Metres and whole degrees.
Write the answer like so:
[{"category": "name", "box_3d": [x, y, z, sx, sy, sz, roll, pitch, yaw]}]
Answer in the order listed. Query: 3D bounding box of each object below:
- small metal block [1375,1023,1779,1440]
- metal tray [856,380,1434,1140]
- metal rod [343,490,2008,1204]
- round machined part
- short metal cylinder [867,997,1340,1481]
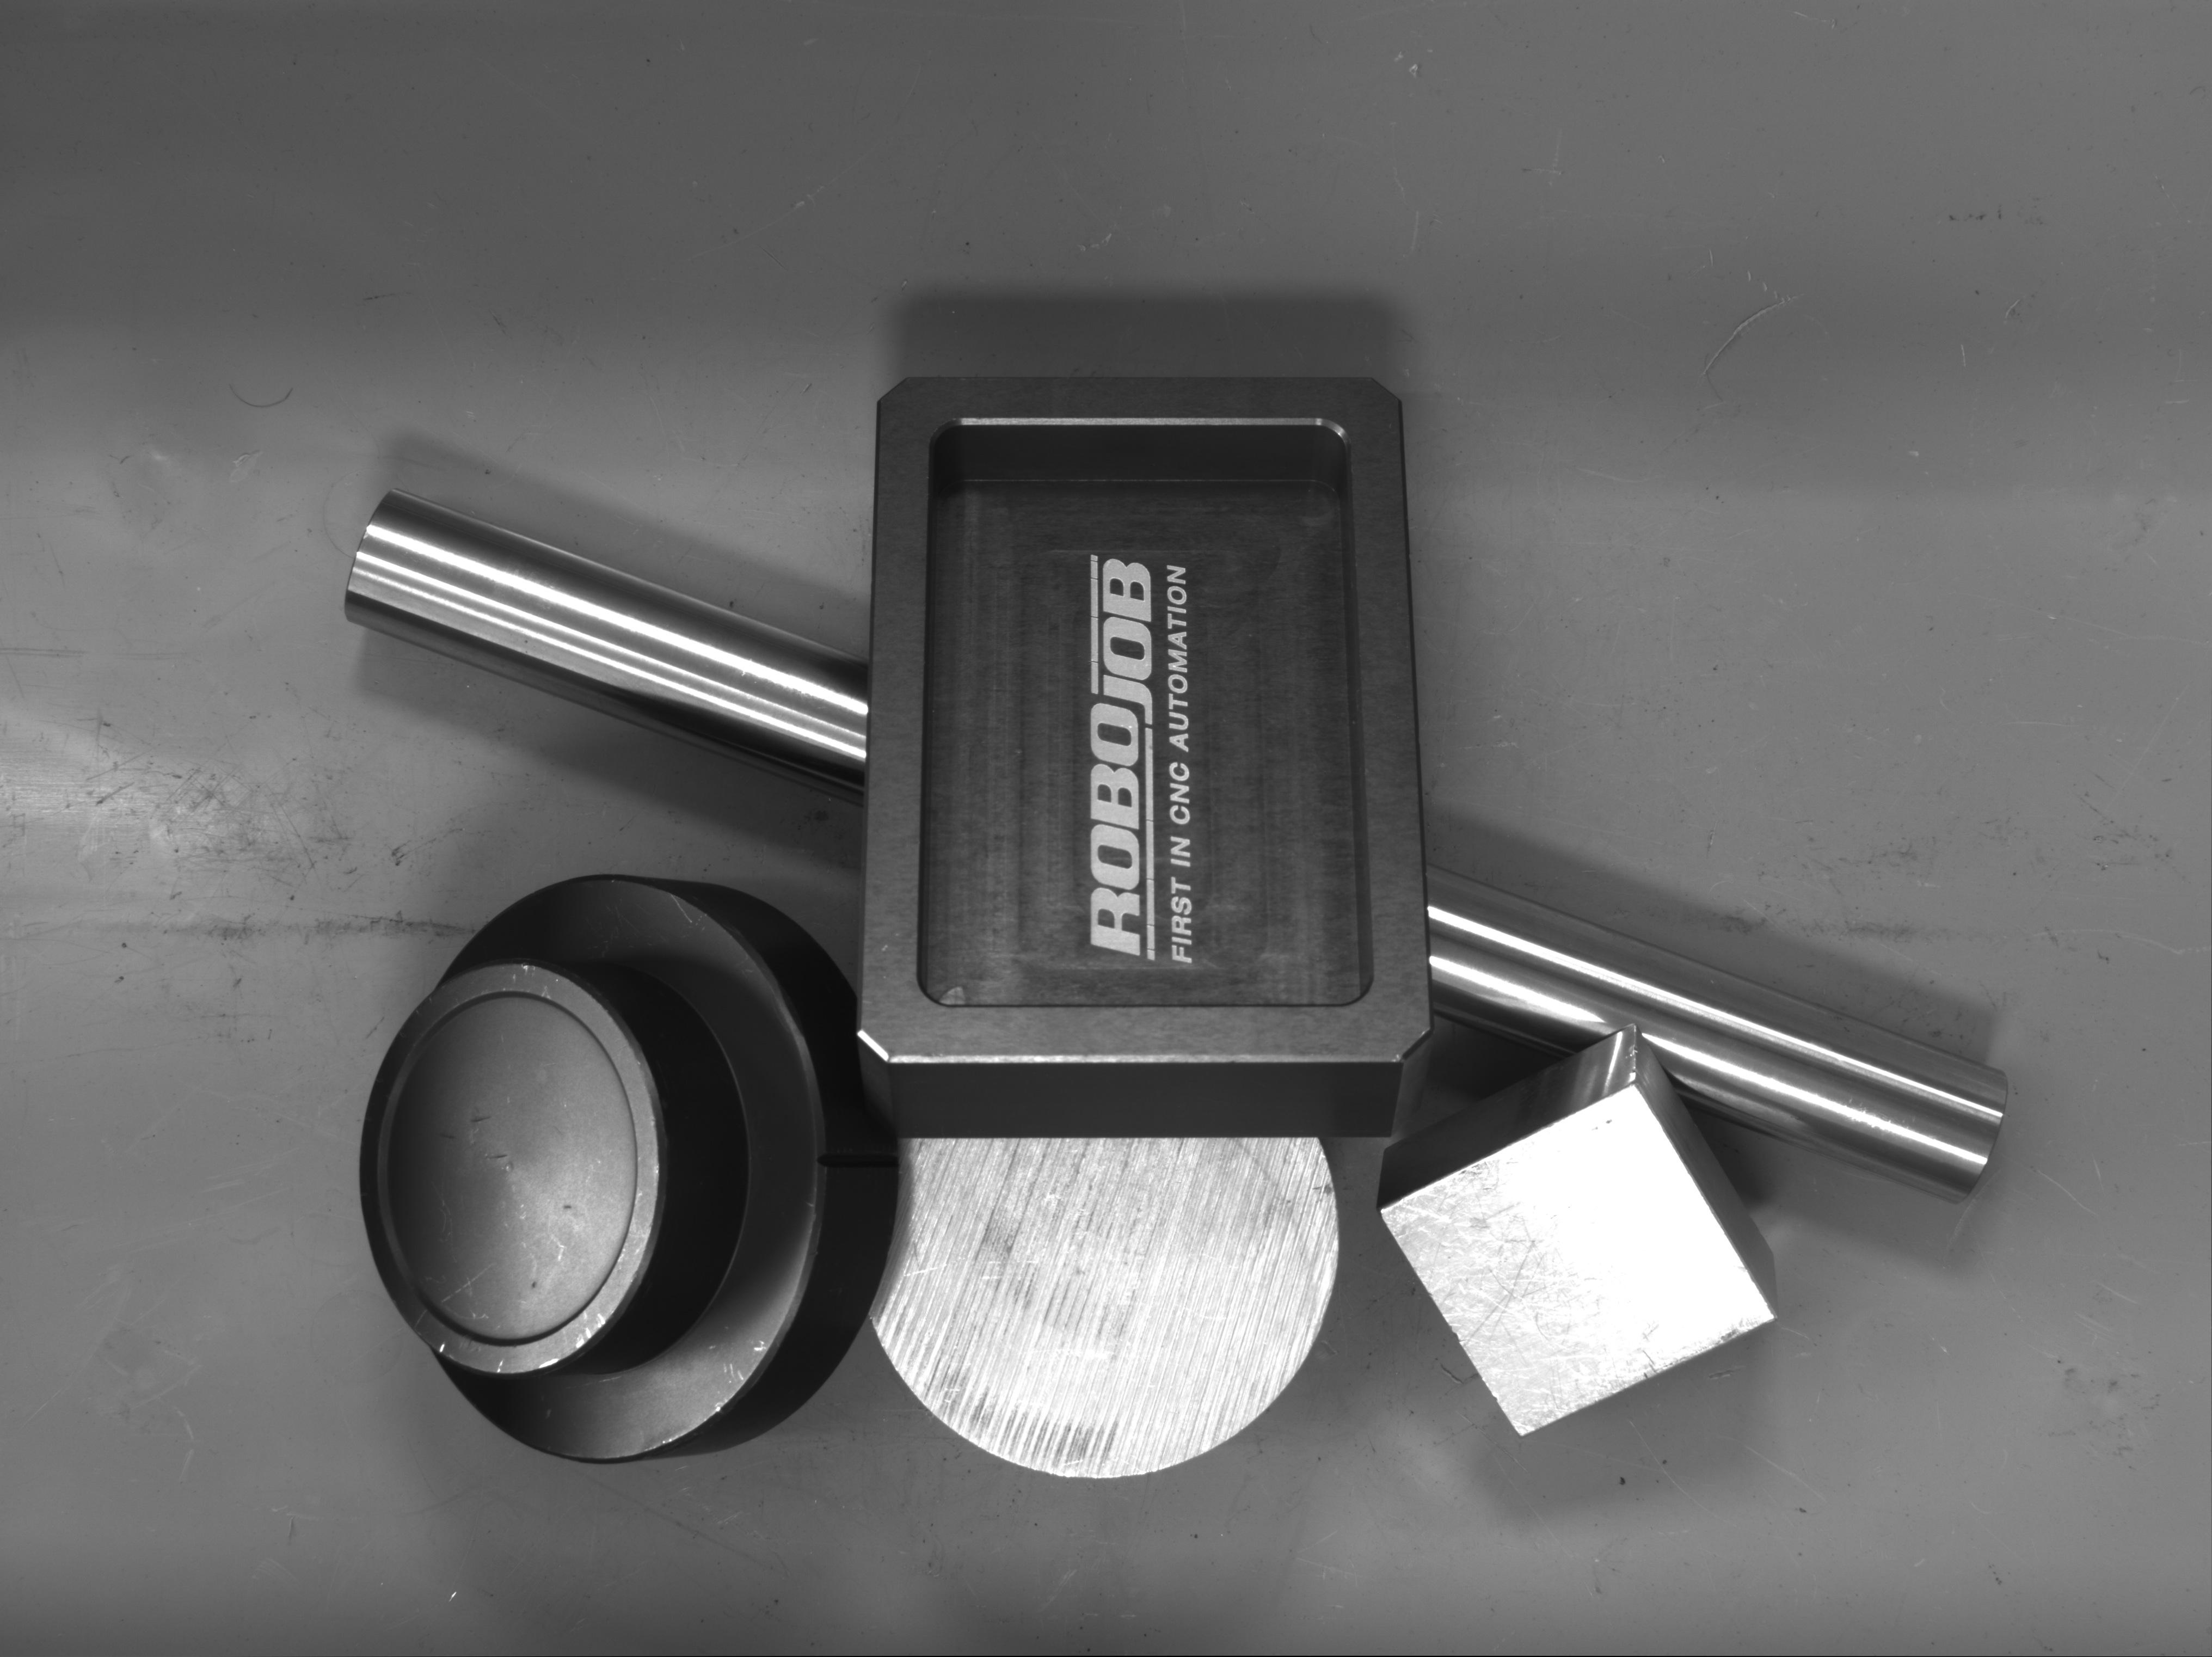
[{"category": "small metal block", "box_3d": [0.081, 0.070, 0.634, 0.050, 0.025, 0.050, -28, 106, 16]}, {"category": "metal tray", "box_3d": [0.006, -0.013, 0.613, 0.090, 0.030, 0.130, 0, 61, -1]}, {"category": "metal rod", "box_3d": [0.012, 0.003, 0.645, 0.300, 0.025, 0.025, 20, 90, 0]}, {"category": "round machined part", "box_3d": [-0.086, 0.057, 0.613, 0.098, 0.042, 0.098, -3, 84, 33]}, {"category": "short metal cylinder", "box_3d": [-0.001, 0.068, 0.632, 0.080, 0.050, 0.080, 0, 90, 0]}]
